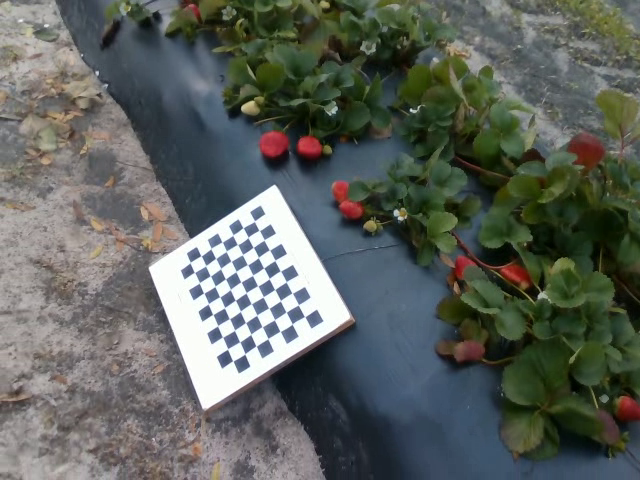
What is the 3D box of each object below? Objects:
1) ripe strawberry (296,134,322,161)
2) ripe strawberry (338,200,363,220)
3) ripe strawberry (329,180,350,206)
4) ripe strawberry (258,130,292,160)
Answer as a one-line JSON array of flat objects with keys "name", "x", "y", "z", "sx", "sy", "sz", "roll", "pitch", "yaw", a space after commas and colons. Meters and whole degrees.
[{"name": "ripe strawberry", "x": -0.020, "y": -0.171, "z": 1.177, "sx": 0.050, "sy": 0.051, "sz": 0.060, "roll": -16, "pitch": 13, "yaw": 22}, {"name": "ripe strawberry", "x": 0.052, "y": -0.057, "z": 1.080, "sx": 0.049, "sy": 0.041, "sz": 0.044, "roll": 5, "pitch": 40, "yaw": -46}, {"name": "ripe strawberry", "x": 0.041, "y": -0.085, "z": 1.112, "sx": 0.053, "sy": 0.047, "sz": 0.038, "roll": 35, "pitch": -1, "yaw": -1}, {"name": "ripe strawberry", "x": -0.086, "y": -0.174, "z": 1.176, "sx": 0.058, "sy": 0.065, "sz": 0.044, "roll": -11, "pitch": -43, "yaw": 25}]
